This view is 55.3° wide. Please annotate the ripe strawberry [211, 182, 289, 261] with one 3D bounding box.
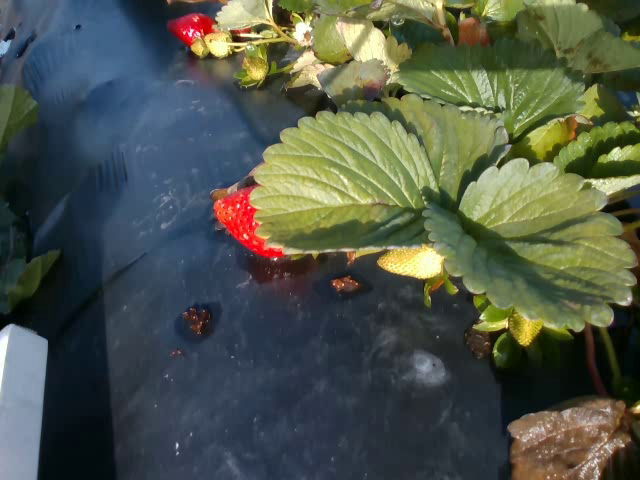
[{"bbox_3d":[-0.033,-0.010,0.261,0.054,0.047,0.038,5,-36,-6],"label":"ripe strawberry"}]
